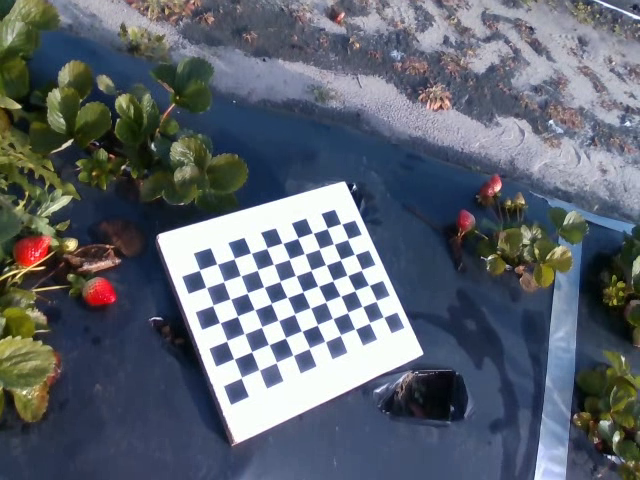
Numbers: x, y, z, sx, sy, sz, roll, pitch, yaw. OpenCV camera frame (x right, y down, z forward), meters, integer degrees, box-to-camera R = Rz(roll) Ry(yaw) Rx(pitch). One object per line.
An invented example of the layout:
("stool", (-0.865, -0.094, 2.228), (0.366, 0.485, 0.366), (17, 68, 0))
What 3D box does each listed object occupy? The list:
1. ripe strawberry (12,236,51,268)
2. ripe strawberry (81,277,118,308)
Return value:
("ripe strawberry", (-0.329, 0.008, 0.717), (0.048, 0.040, 0.031), (-38, -6, 13))
("ripe strawberry", (-0.256, 0.060, 0.727), (0.043, 0.035, 0.030), (32, -30, -2))
